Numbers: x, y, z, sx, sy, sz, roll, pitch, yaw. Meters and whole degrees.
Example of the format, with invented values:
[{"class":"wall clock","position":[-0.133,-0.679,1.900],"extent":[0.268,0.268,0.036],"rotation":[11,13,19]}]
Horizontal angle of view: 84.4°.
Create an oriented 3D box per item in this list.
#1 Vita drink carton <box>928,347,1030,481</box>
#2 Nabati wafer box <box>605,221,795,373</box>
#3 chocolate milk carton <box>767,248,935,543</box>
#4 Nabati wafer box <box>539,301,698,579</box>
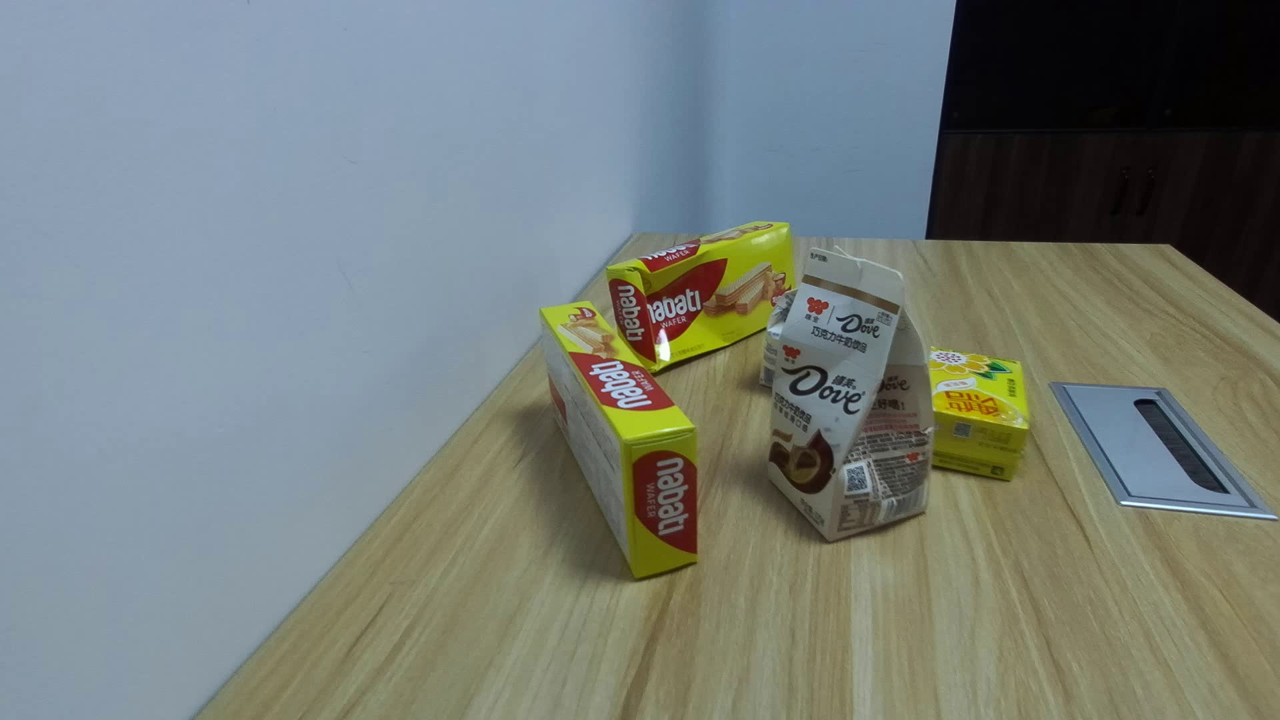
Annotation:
[{"class":"Vita drink carton","position":[0.236,0.036,0.497],"extent":[0.076,0.043,0.109],"rotation":[11,27,21]},{"class":"Nabati wafer box","position":[0.067,-0.062,0.651],"extent":[0.204,0.096,0.042],"rotation":[-21,21,-35]},{"class":"chocolate milk carton","position":[0.126,0.017,0.410],"extent":[0.073,0.155,0.084],"rotation":[-11,27,-18]},{"class":"Nabati wafer box","position":[-0.019,0.038,0.458],"extent":[0.042,0.093,0.202],"rotation":[-12,27,-15]}]
